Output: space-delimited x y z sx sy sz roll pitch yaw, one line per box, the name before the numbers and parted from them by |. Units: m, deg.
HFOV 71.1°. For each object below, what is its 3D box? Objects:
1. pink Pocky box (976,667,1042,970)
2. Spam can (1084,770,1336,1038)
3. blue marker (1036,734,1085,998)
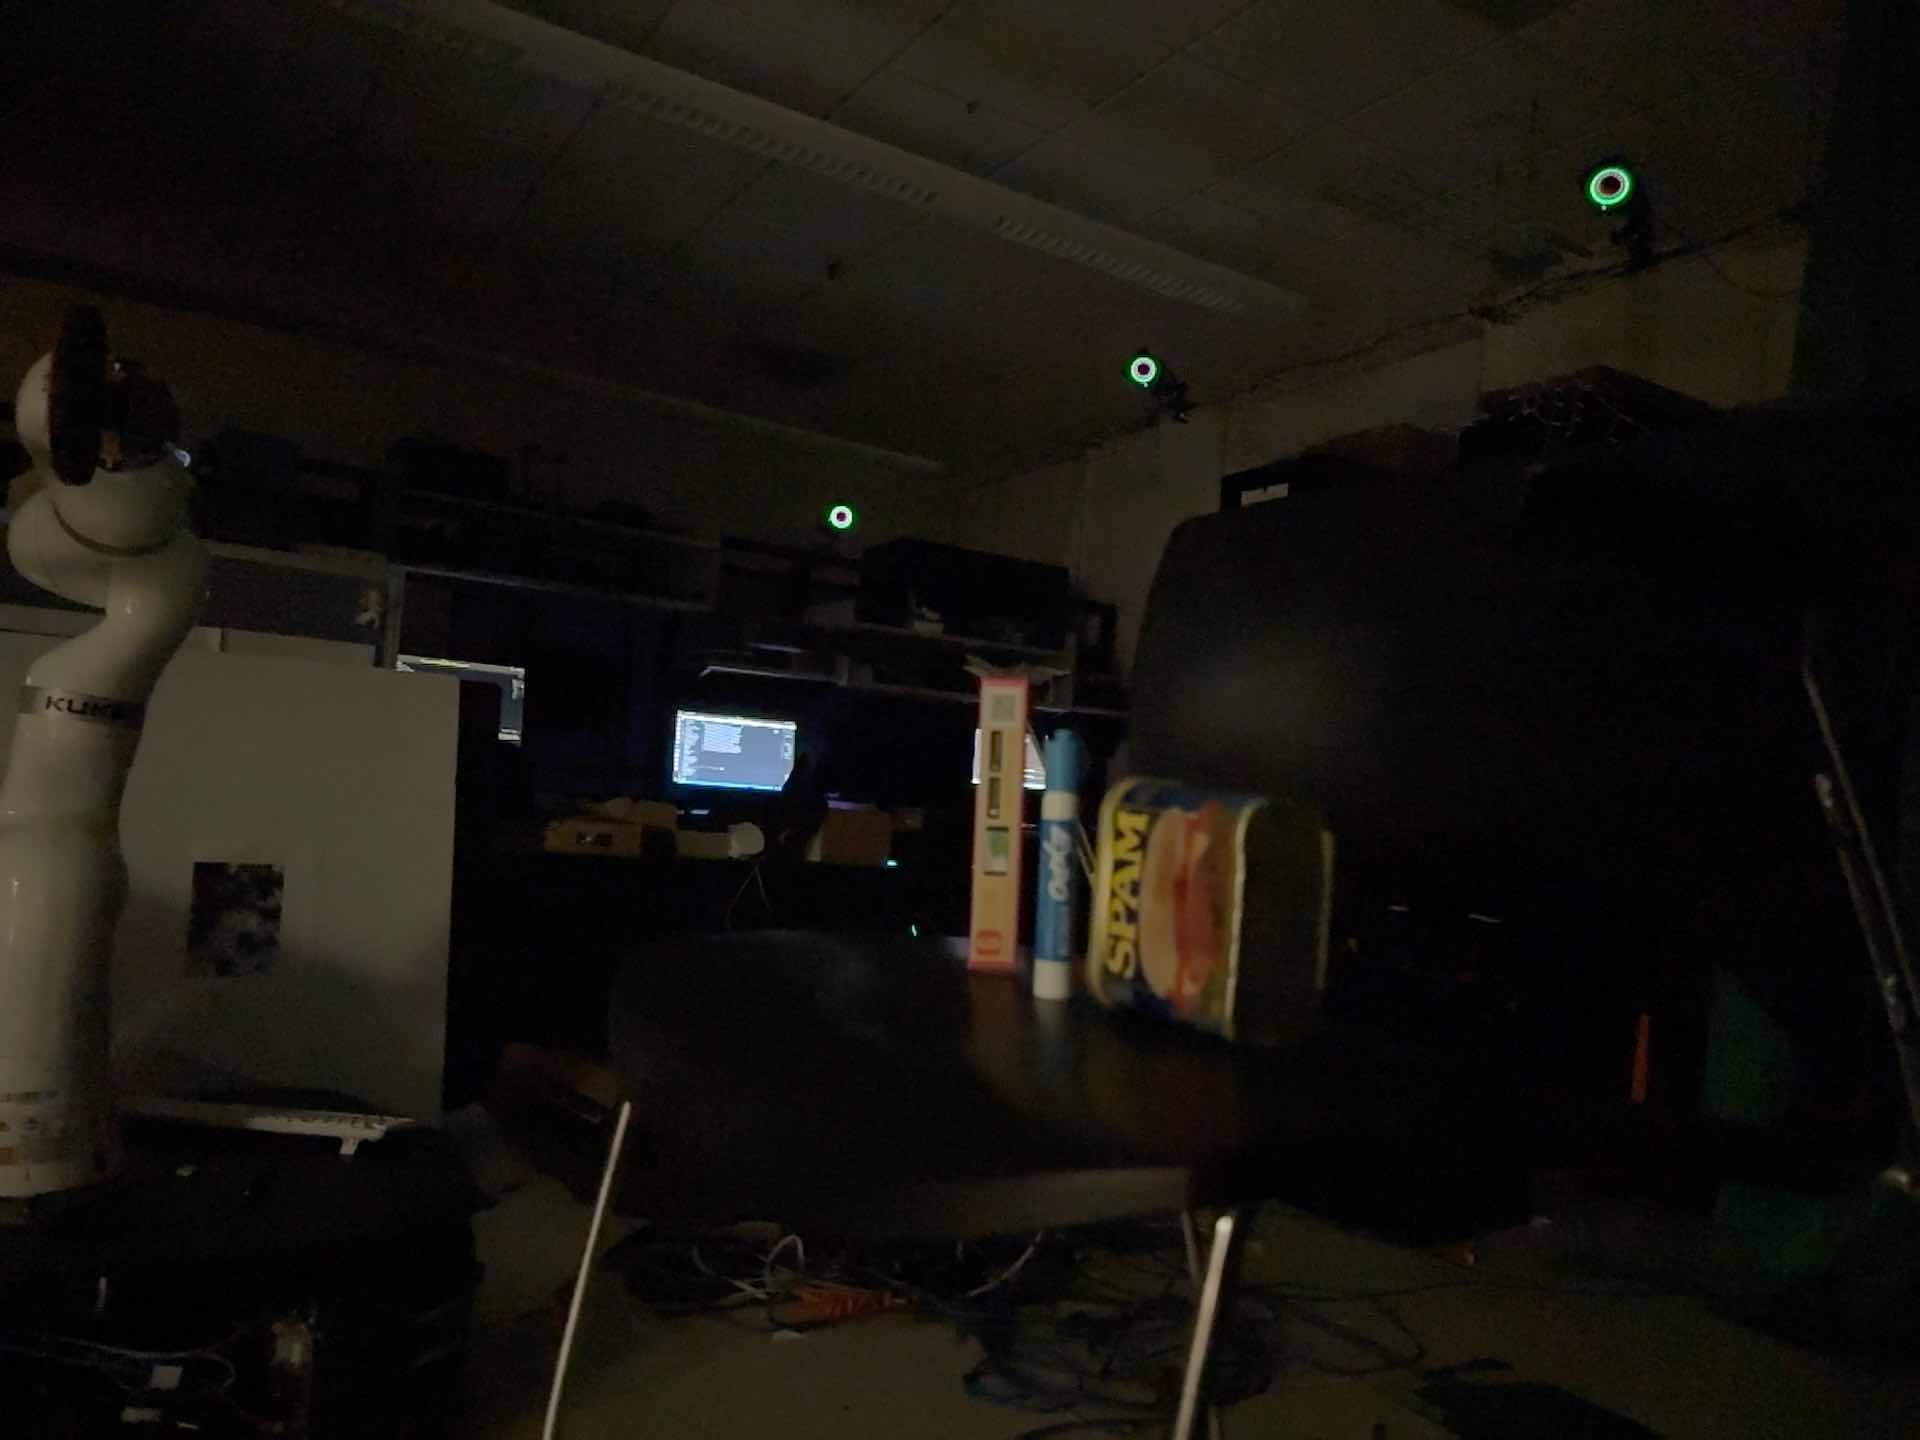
pink Pocky box | 0.027 0.052 0.727 0.029 0.155 0.084 2 -3 4
Spam can | 0.103 0.075 0.559 0.056 0.100 0.083 5 0 -38
blue marker | 0.046 0.067 0.623 0.020 0.121 0.020 2 -1 0
